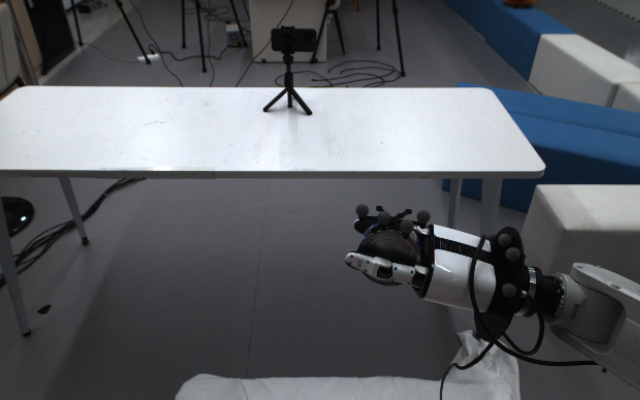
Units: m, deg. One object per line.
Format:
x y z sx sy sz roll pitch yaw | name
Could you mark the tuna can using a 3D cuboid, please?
0.095 0.070 0.658 0.085 0.085 0.034 9 23 10 | tuna can
